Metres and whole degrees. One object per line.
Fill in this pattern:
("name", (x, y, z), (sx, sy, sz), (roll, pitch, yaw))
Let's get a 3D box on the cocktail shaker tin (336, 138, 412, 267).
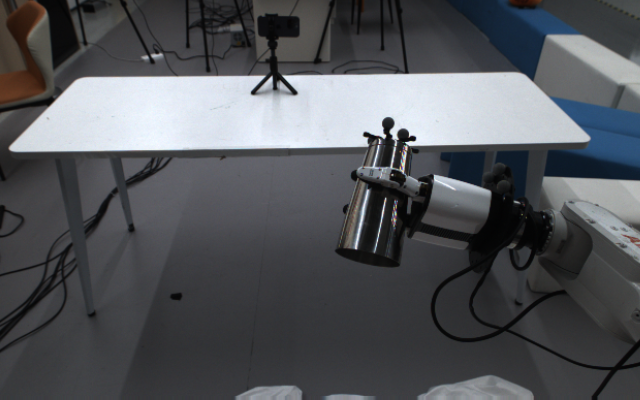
("cocktail shaker tin", (0.084, 0.002, 0.692), (0.093, 0.093, 0.170), (11, 74, 12))
